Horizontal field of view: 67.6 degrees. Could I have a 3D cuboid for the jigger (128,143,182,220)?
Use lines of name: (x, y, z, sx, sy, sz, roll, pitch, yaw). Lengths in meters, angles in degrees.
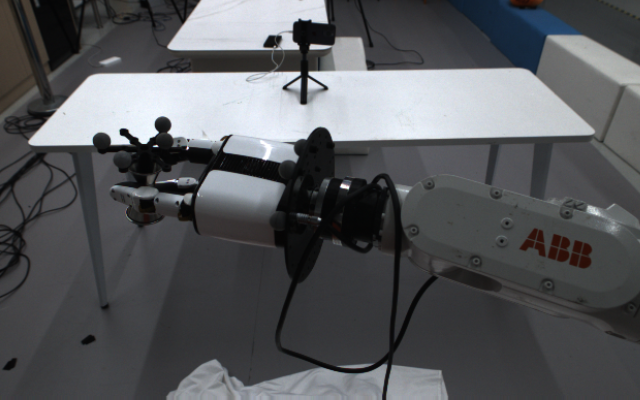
jigger: (-0.191, -0.011, 0.535, 0.043, 0.071, 0.043, 10, 36, -7)
